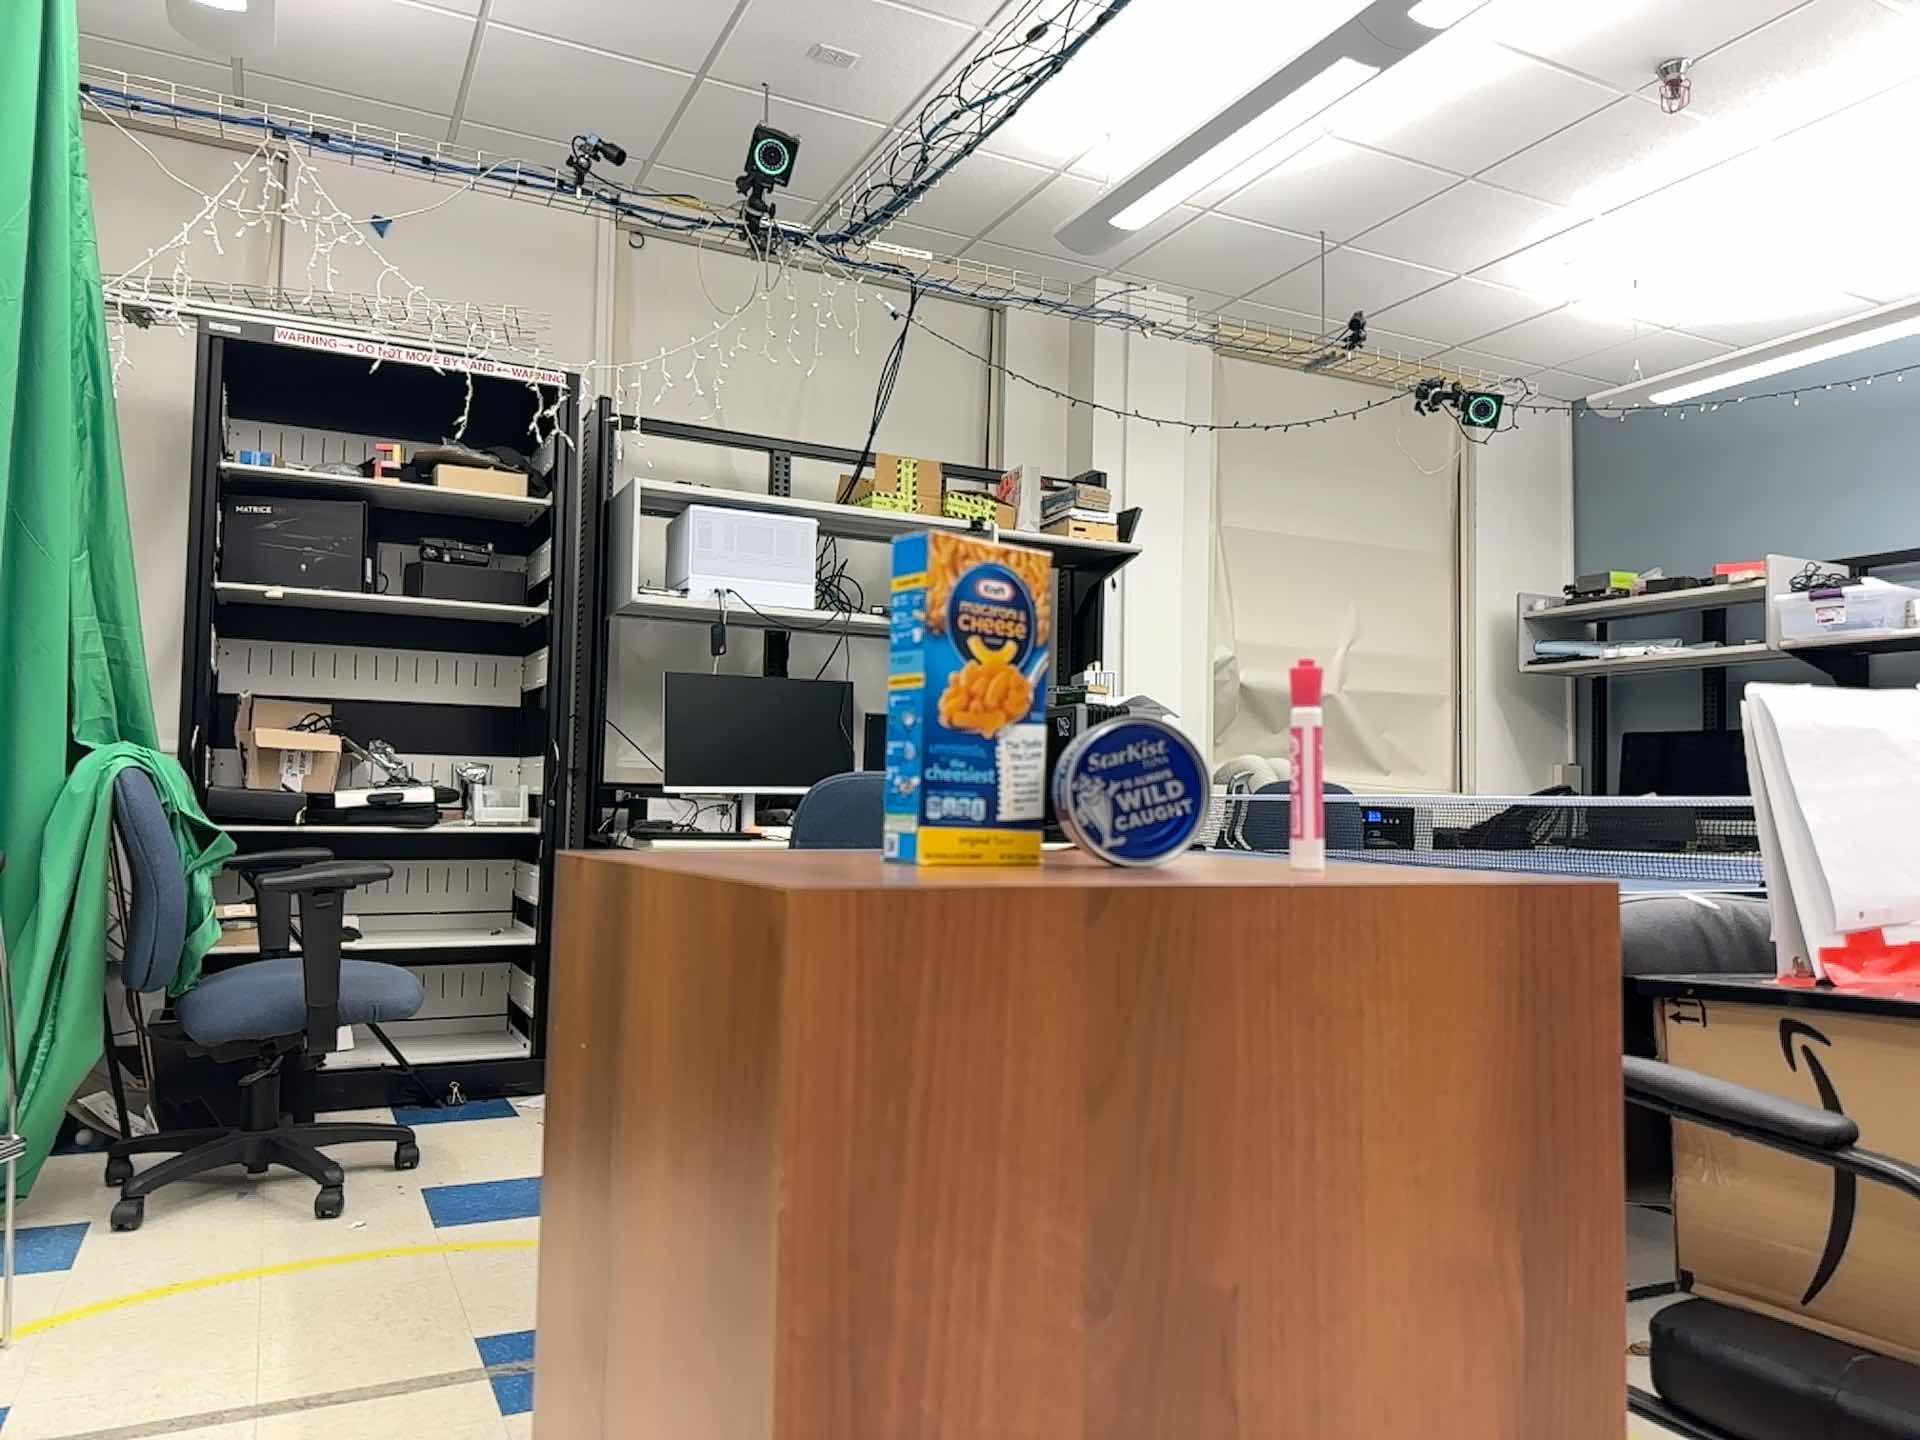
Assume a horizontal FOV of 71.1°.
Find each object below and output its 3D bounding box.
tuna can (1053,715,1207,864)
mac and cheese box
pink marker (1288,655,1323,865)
[{"bbox_3d":[0.097,0.040,0.779,0.083,0.083,0.034,1,-3,-9],"label":"tuna can"},{"bbox_3d":[0.007,-0.011,0.765,0.088,0.181,0.035,2,-2,-35],"label":"mac and cheese box"},{"bbox_3d":[0.201,0.023,0.782,0.020,0.121,0.020,1,-2,0],"label":"pink marker"}]
